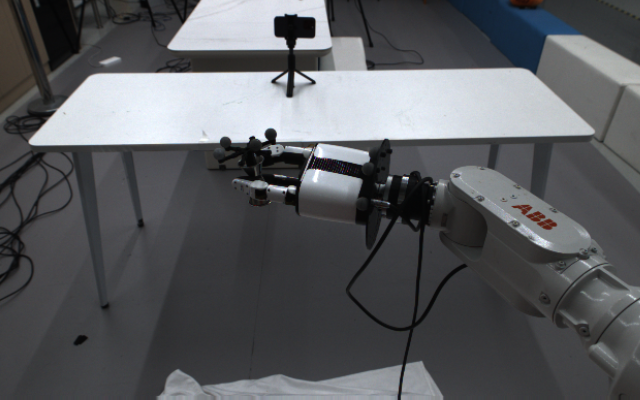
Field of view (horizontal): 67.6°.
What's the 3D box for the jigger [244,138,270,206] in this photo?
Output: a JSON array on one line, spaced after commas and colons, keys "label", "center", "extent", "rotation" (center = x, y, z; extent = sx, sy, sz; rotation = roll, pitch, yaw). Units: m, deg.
[{"label": "jigger", "center": [-0.095, -0.029, 0.729], "extent": [0.043, 0.071, 0.043], "rotation": [-10, 32, 6]}]
